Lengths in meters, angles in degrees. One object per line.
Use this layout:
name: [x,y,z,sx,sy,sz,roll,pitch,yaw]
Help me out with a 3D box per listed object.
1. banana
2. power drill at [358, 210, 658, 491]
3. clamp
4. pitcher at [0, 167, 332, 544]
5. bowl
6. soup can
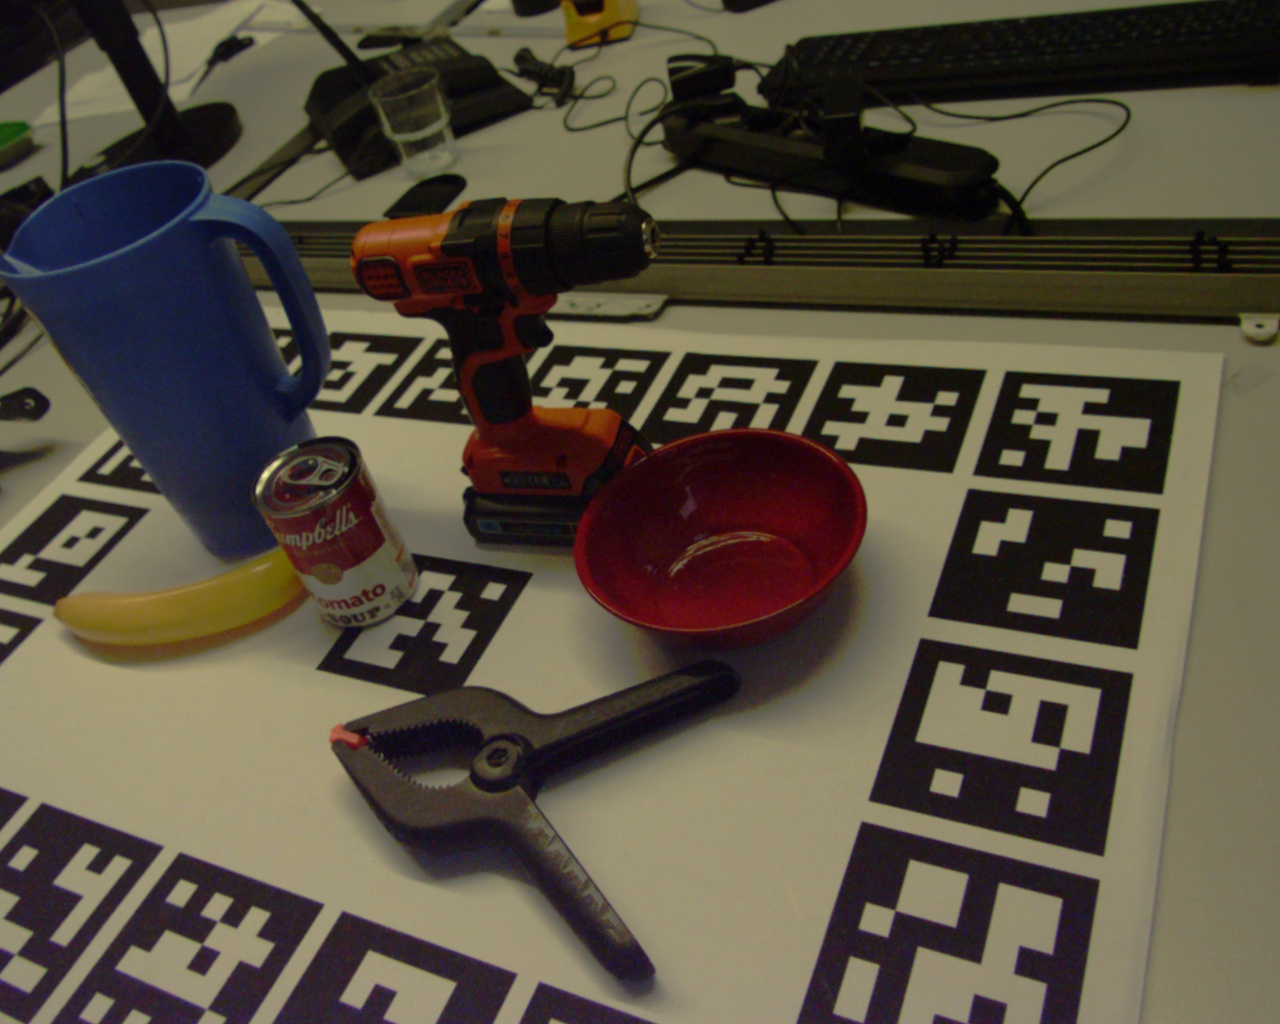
banana: [-0.312,0.051,0.775,0.198,0.038,0.074,-12,34,7]
power drill: [-0.063,-0.096,0.695,0.186,0.185,0.057,3,46,22]
clamp: [-0.075,0.122,0.599,0.205,0.036,0.165,4,51,24]
pitcher: [-0.293,-0.101,0.773,0.189,0.240,0.134,-12,39,8]
bowl: [0.035,0.014,0.667,0.162,0.055,0.162,-11,44,10]
soup can: [-0.190,0.005,0.729,0.068,0.101,0.068,-10,35,6]
